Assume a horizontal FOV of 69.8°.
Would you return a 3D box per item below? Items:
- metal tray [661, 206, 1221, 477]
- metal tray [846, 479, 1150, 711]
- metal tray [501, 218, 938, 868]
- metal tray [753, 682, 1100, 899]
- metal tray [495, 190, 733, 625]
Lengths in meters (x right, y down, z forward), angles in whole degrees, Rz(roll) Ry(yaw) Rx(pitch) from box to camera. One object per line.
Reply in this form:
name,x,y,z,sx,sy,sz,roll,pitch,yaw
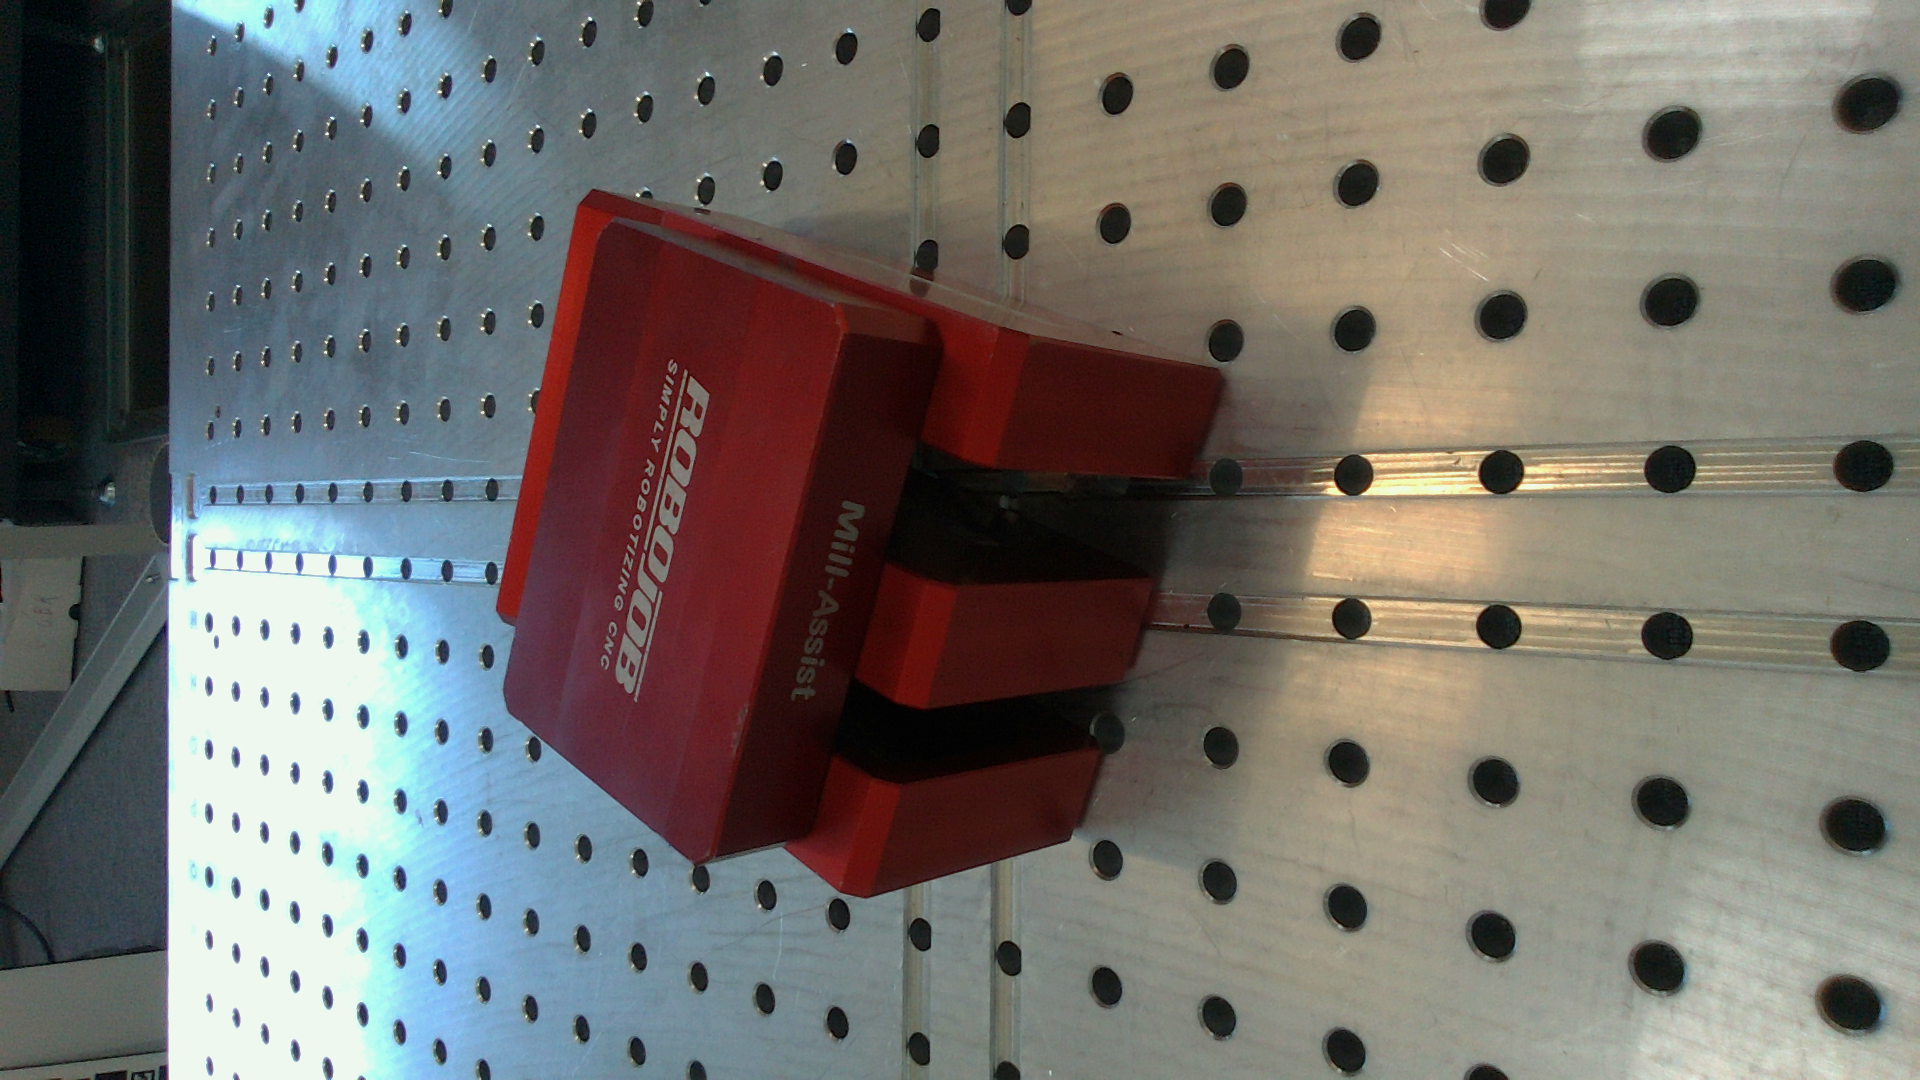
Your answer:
metal tray,-0.009,-0.053,0.362,0.130,0.090,0.030,27,107,37
metal tray,-0.026,0.003,0.375,0.130,0.090,0.030,25,105,36
metal tray,-0.062,-0.001,0.328,0.090,0.030,0.130,26,107,37
metal tray,-0.038,0.047,0.387,0.130,0.090,0.030,27,107,37
metal tray,-0.093,-0.037,0.430,0.030,0.090,0.130,20,103,16
